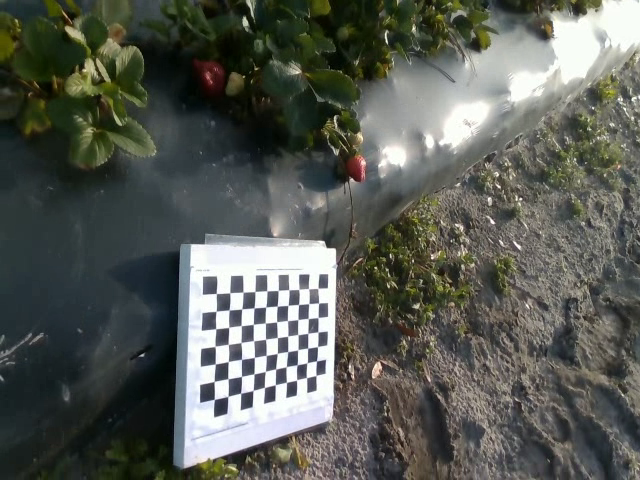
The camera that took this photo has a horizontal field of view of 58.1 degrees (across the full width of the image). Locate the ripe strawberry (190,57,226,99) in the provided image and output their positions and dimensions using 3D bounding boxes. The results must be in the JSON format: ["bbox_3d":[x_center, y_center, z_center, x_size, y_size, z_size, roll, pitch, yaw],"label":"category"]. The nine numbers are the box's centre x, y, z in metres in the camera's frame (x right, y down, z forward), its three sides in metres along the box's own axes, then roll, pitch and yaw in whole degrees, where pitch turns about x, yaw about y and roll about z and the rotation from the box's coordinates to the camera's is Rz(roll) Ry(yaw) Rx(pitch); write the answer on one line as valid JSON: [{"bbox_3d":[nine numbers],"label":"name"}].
[{"bbox_3d":[-0.173,-0.246,0.875,0.057,0.058,0.070,4,-10,17],"label":"ripe strawberry"}]

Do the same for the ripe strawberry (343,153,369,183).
[{"bbox_3d":[0.069,-0.125,1.001,0.034,0.050,0.047,-8,14,43],"label":"ripe strawberry"}]
